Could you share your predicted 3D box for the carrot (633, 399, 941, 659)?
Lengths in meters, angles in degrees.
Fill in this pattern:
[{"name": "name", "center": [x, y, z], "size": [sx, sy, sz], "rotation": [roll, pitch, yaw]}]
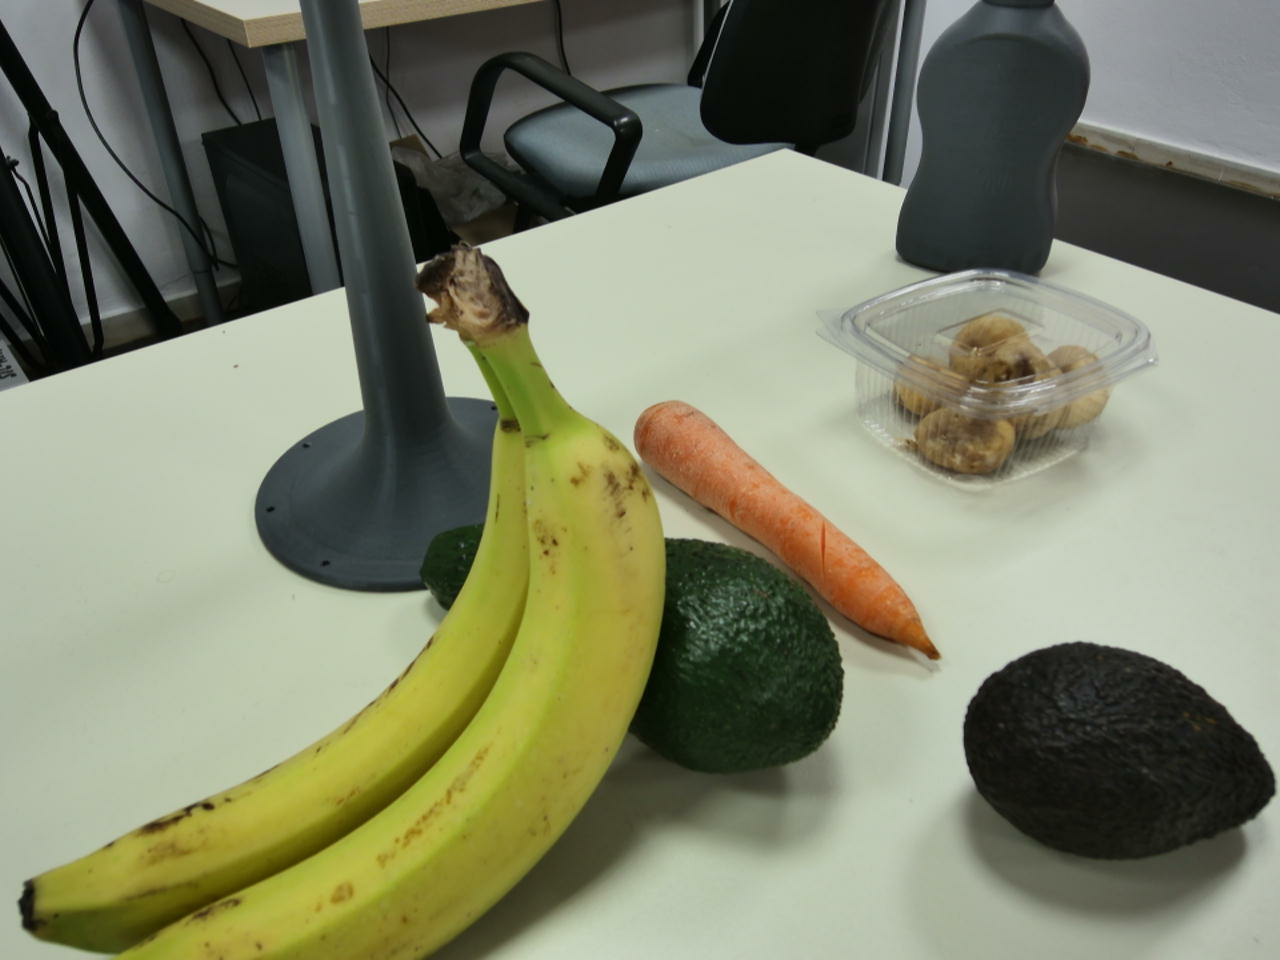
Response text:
[{"name": "carrot", "center": [0.064, 0.015, 0.462], "size": [0.039, 0.041, 0.196], "rotation": [-23, 42, -30]}]
